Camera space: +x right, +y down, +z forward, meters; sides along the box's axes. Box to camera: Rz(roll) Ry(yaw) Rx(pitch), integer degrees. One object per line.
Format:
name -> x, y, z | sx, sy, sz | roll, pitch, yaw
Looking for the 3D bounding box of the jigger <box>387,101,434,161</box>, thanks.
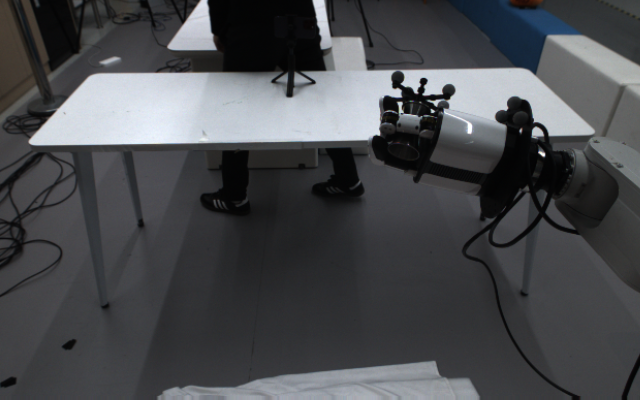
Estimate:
jigger -> 0.123, -0.093, 0.647 | 0.043, 0.043, 0.071 | 12, 72, 14
